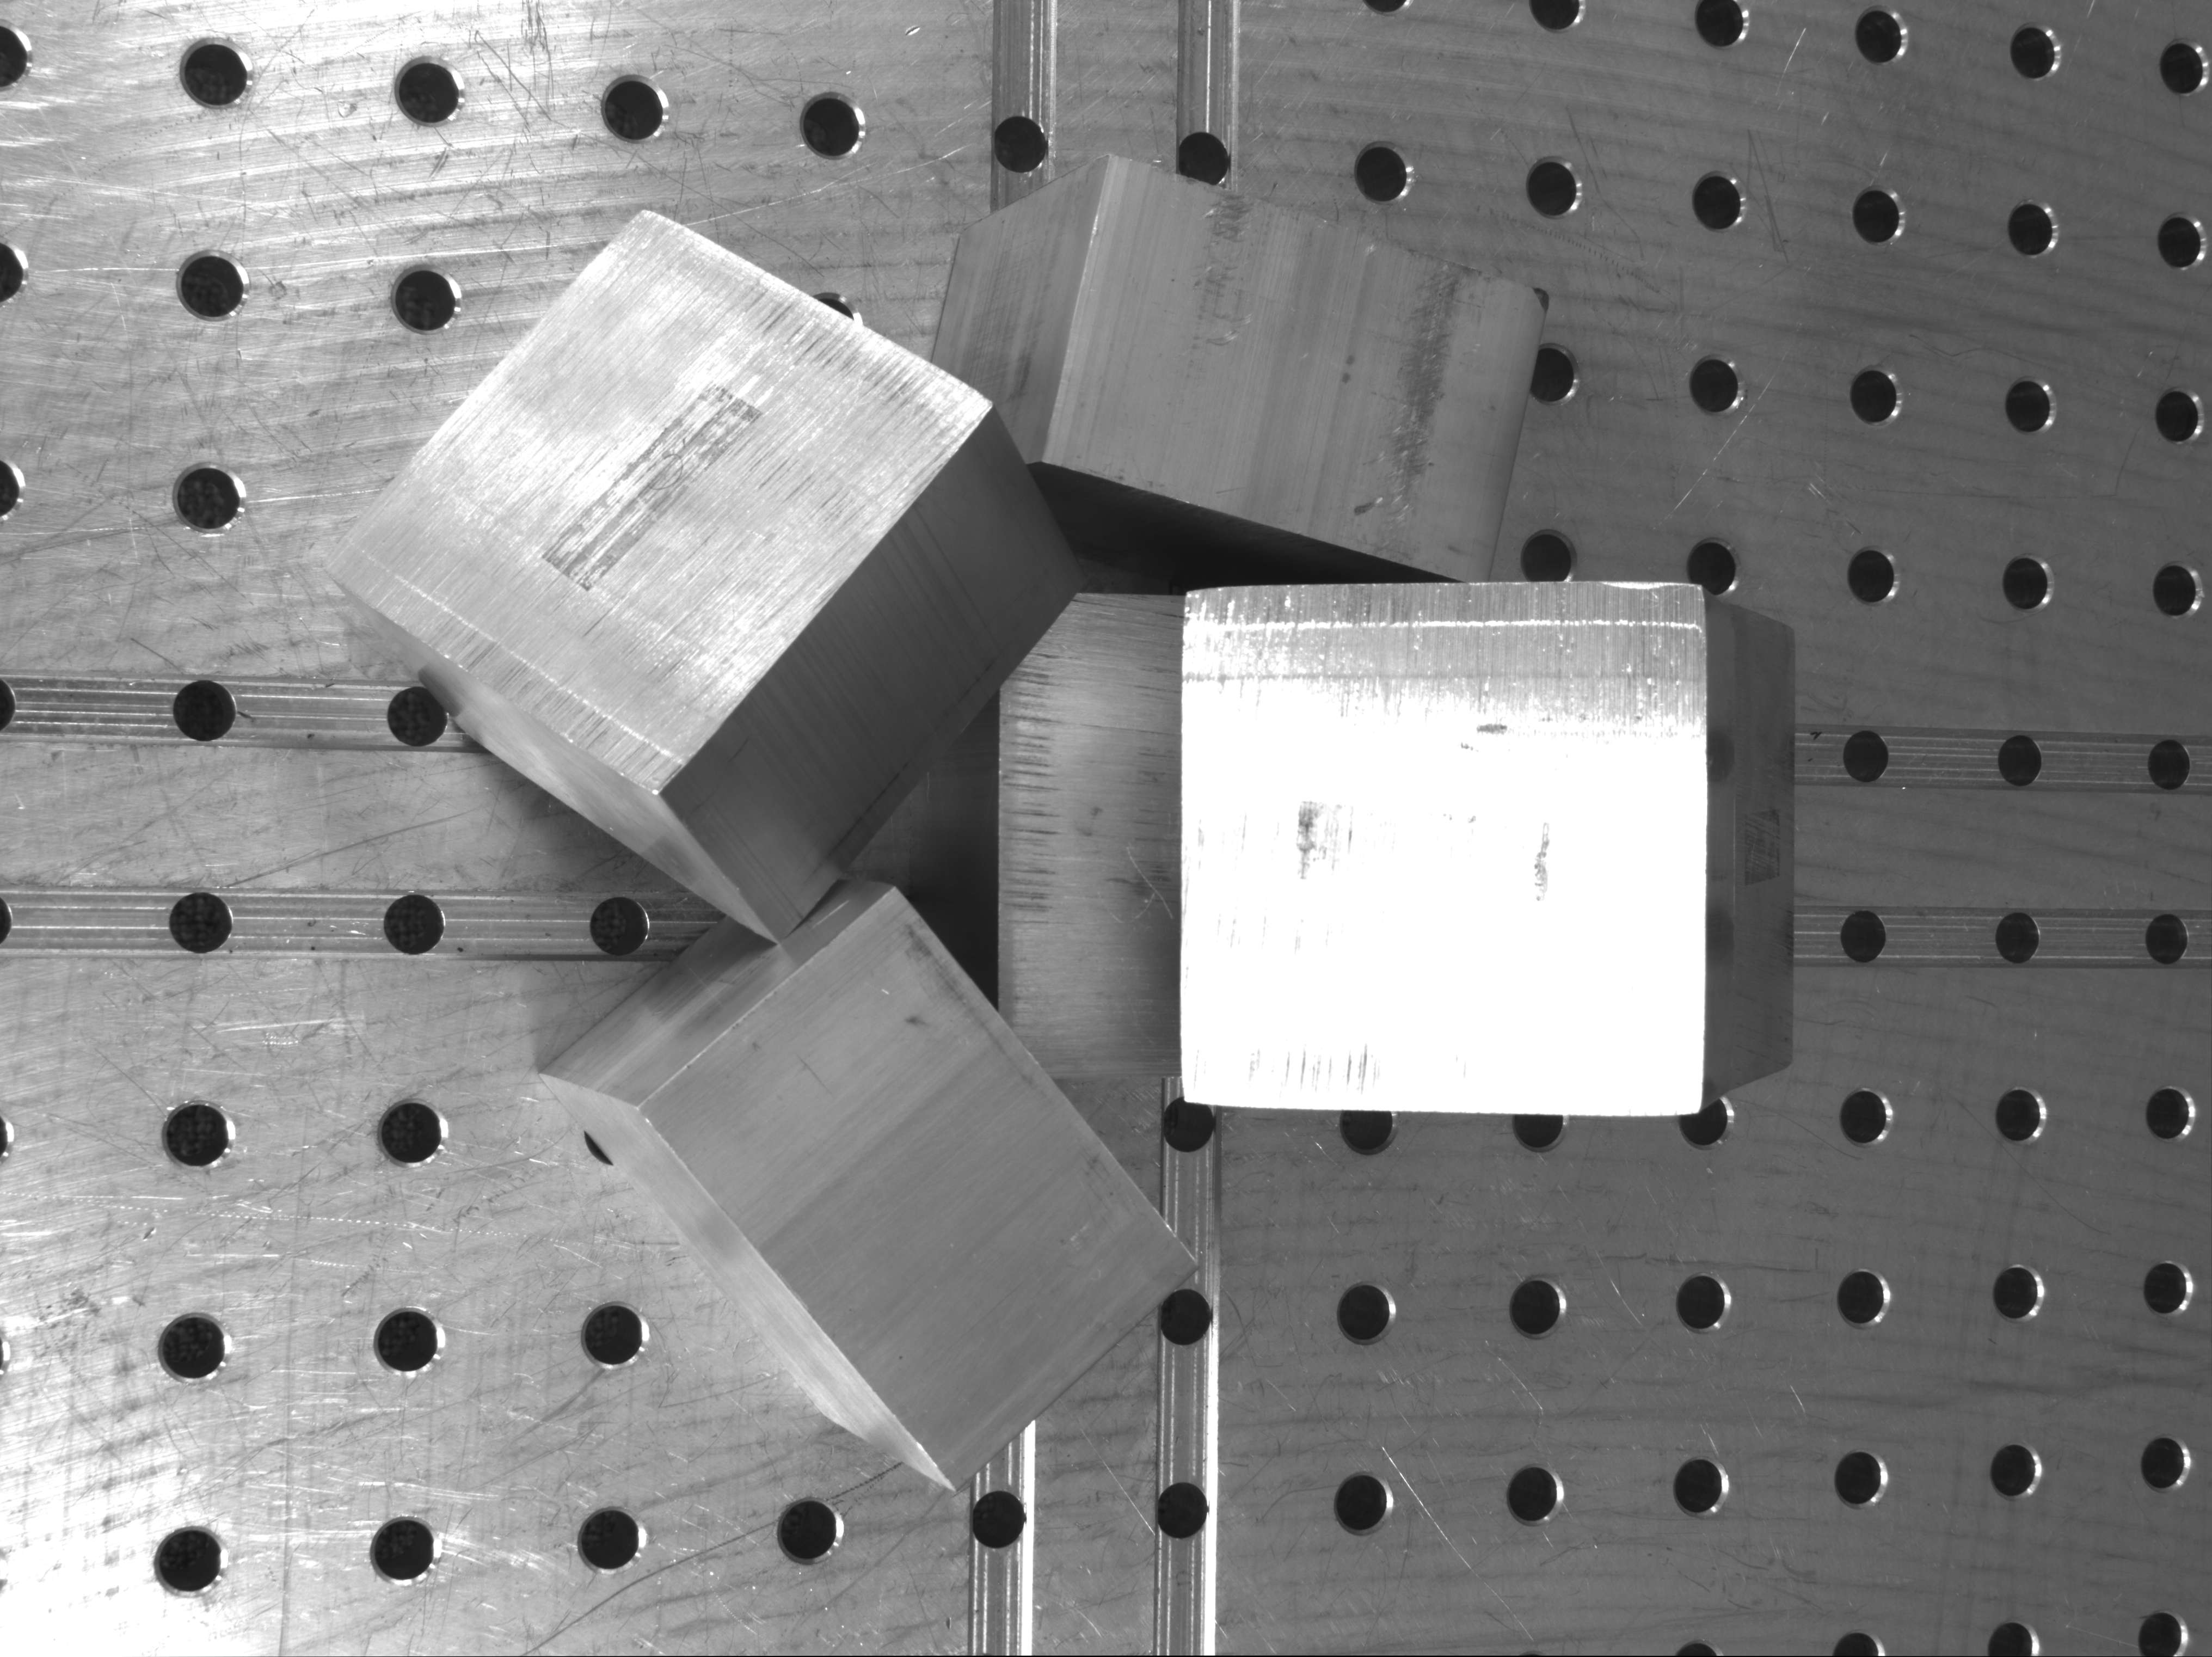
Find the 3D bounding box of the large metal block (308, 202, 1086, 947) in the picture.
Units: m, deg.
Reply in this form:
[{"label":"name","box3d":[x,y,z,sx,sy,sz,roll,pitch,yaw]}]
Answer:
[{"label":"large metal block","box3d":[-0.064,-0.041,0.587,0.080,0.080,0.050,-51,149,-13]}]

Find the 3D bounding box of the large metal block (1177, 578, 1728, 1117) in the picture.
[{"label":"large metal block","box3d":[0.056,0.003,0.579,0.080,0.050,0.080,0,89,14]}]

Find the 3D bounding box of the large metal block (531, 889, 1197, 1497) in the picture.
[{"label":"large metal block","box3d":[-0.042,0.056,0.600,0.050,0.080,0.080,-42,103,-16]}]

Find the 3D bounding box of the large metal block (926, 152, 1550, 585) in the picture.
[{"label":"large metal block","box3d":[0.017,-0.072,0.623,0.080,0.080,0.050,14,85,-19]}]

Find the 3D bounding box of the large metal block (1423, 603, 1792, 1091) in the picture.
[{"label":"large metal block","box3d":[0.089,0.003,0.640,0.050,0.080,0.080,0,89,18]}]

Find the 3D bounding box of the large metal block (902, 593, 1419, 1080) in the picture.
[{"label":"large metal block","box3d":[0.010,0.002,0.636,0.080,0.050,0.080,1,90,-20]}]
